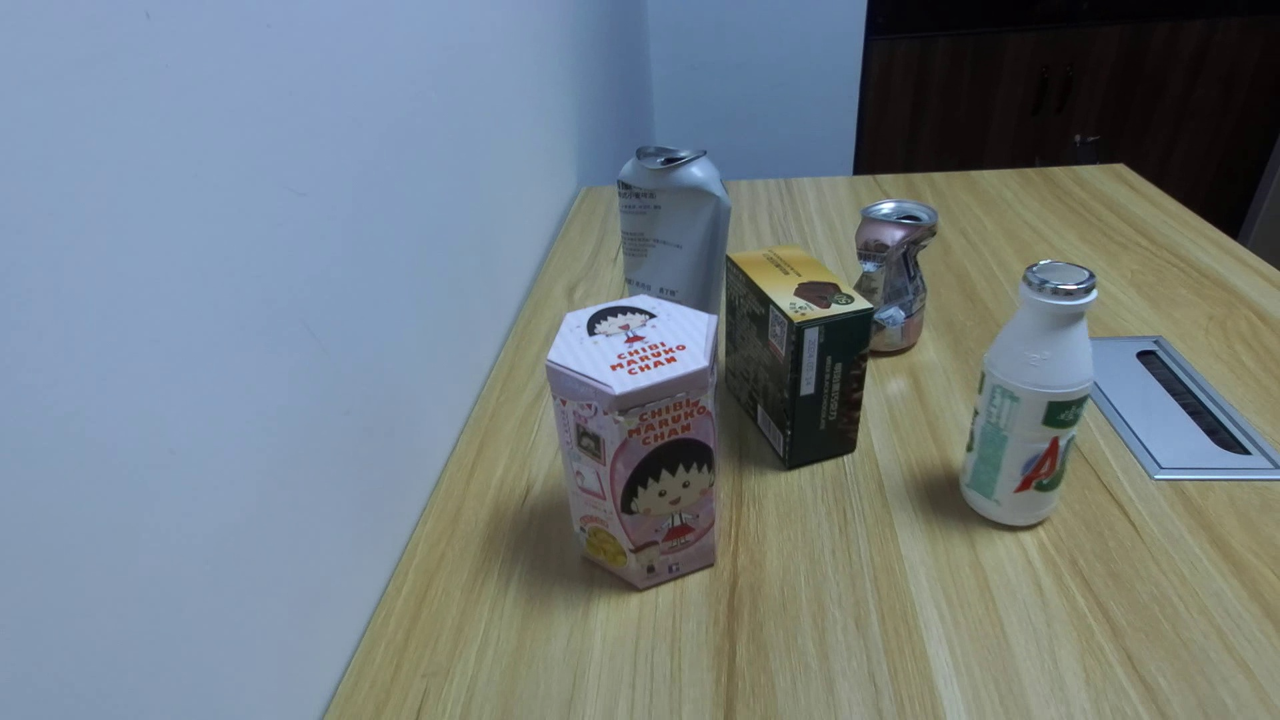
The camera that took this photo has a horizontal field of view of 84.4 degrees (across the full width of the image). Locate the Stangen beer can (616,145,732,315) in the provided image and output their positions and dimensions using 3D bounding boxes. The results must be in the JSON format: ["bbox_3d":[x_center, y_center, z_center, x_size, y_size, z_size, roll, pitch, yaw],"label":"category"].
[{"bbox_3d":[0.027,-0.081,0.546,0.077,0.162,0.065,-8,33,-7],"label":"Stangen beer can"}]

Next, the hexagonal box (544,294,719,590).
[{"bbox_3d":[0.003,0.045,0.380,0.091,0.136,0.083,-16,34,-15],"label":"hexagonal box"}]

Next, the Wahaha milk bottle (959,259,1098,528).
[{"bbox_3d":[0.212,0.026,0.383,0.053,0.137,0.053,-4,30,3],"label":"Wahaha milk bottle"}]

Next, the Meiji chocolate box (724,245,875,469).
[{"bbox_3d":[0.100,-0.006,0.472,0.056,0.109,0.109,-12,33,-11],"label":"Meiji chocolate box"}]

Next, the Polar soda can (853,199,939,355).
[{"bbox_3d":[0.192,-0.065,0.550,0.070,0.114,0.074,-3,37,-4],"label":"Polar soda can"}]
